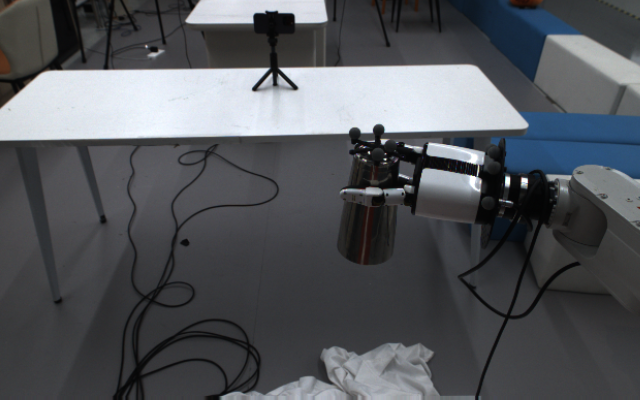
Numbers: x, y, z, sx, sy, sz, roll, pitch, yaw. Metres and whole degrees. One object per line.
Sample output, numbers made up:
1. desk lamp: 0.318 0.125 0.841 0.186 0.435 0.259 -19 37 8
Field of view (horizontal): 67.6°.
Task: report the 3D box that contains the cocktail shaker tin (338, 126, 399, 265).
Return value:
1. cocktail shaker tin: 0.080 0.001 0.741 0.093 0.170 0.093 2 33 -1
